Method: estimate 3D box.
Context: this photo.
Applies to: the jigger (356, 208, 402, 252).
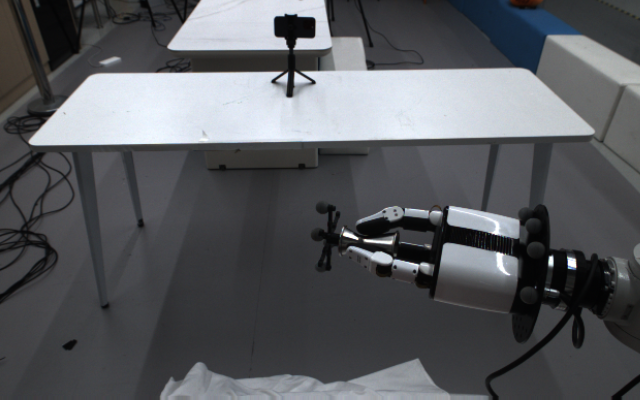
[{"bbox_3d":[0.067,0.052,0.600,0.071,0.043,0.043,7,35,16],"label":"jigger"}]
